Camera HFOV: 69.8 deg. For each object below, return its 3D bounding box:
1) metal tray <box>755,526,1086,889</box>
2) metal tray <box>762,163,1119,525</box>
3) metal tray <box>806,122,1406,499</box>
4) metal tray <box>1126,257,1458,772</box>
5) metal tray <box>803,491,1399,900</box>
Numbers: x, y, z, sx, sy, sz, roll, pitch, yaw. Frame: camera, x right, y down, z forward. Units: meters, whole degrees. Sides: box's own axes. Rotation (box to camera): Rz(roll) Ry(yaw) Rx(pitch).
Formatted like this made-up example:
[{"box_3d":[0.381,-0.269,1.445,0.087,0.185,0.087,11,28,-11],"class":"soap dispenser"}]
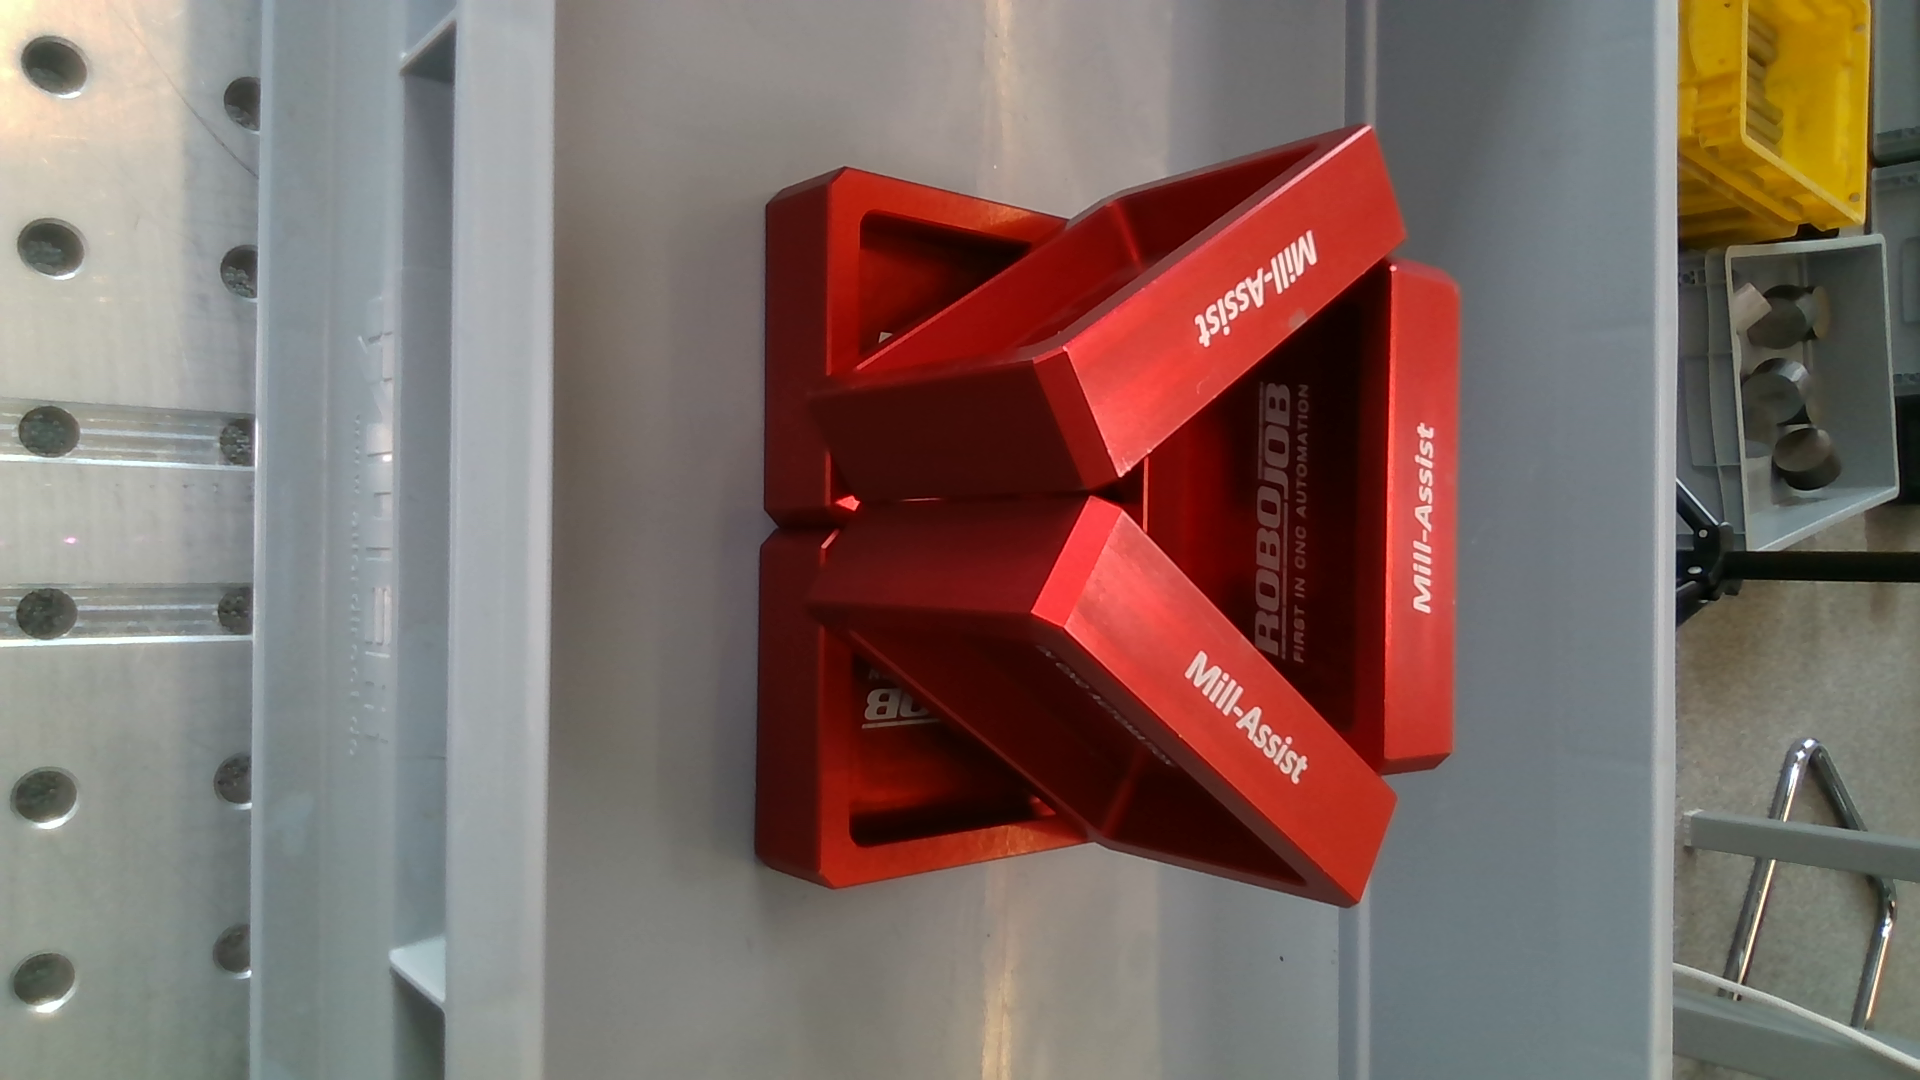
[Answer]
[{"box_3d":[0.005,0.043,0.392,0.130,0.030,0.090,2,89,-41],"class":"metal tray"},{"box_3d":[0.006,-0.049,0.393,0.130,0.030,0.090,1,89,-41],"class":"metal tray"},{"box_3d":[0.037,-0.056,0.338,0.130,0.090,0.030,-38,113,-33],"class":"metal tray"},{"box_3d":[0.089,-0.006,0.381,0.030,0.090,0.130,2,88,-40],"class":"metal tray"},{"box_3d":[0.035,0.039,0.337,0.130,0.090,0.030,42,64,-32],"class":"metal tray"}]
